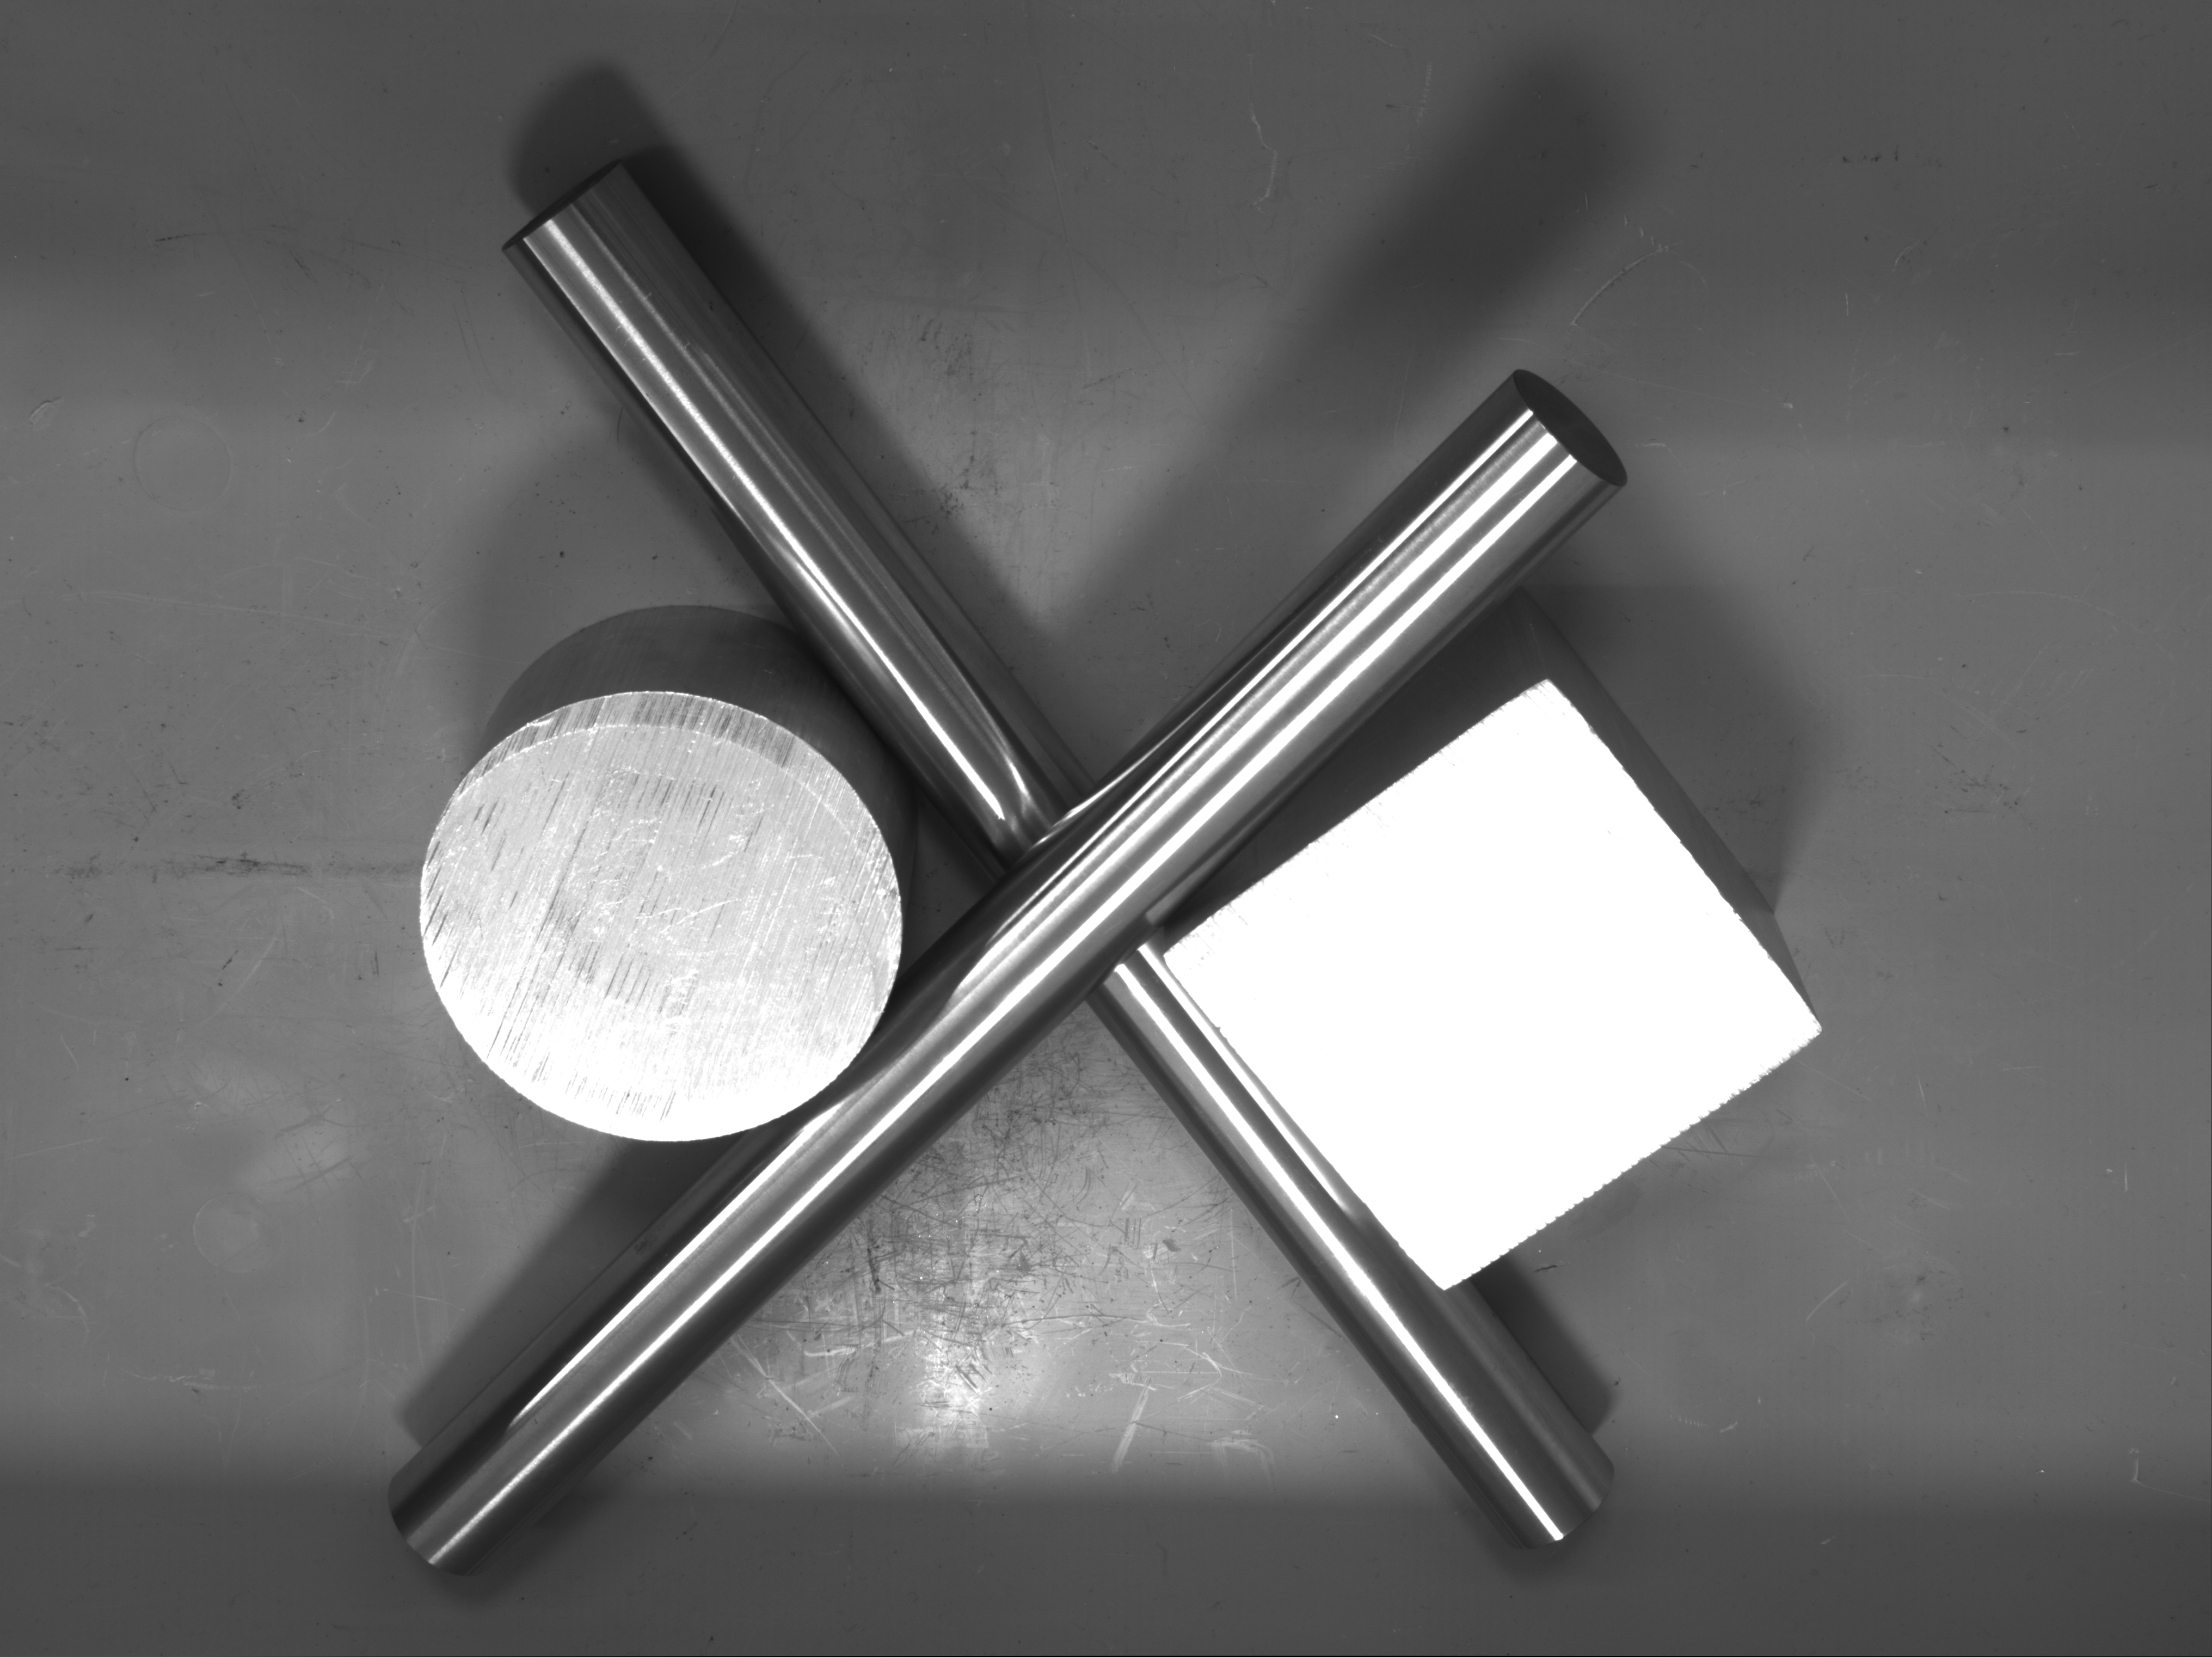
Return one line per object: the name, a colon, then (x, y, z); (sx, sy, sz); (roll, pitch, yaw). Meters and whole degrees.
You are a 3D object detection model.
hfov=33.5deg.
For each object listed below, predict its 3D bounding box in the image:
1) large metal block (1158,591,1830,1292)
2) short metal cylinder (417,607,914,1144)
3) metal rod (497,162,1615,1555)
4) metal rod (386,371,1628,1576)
large metal block: (0.065, 0.018, 0.635); (0.080, 0.050, 0.080); (-37, 106, 12)
short metal cylinder: (-0.074, 0.007, 0.632); (0.080, 0.050, 0.080); (0, 110, 0)
metal rod: (-0.003, 0.012, 0.646); (0.025, 0.025, 0.300); (-34, 107, 12)
metal rod: (-0.026, 0.034, 0.633); (0.025, 0.025, 0.300); (40, 114, -13)
